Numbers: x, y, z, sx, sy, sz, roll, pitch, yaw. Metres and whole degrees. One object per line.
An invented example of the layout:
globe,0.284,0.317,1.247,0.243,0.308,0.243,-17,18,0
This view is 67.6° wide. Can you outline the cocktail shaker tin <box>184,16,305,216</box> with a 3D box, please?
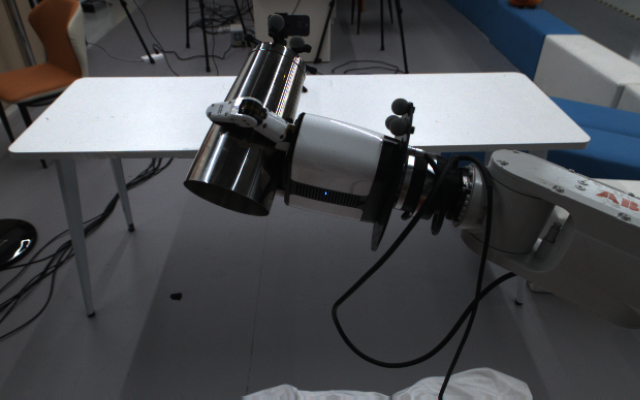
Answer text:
cocktail shaker tin,-0.069,-0.077,0.517,0.093,0.093,0.170,13,74,16
